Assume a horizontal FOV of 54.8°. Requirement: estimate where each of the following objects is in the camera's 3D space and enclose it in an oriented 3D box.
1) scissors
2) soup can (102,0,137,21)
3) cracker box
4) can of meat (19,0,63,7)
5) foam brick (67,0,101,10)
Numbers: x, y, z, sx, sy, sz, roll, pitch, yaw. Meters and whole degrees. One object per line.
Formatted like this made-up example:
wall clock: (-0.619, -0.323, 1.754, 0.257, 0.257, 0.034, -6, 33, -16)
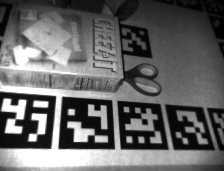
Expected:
scissors: (0.000, -0.019, 0.469, 0.204, 0.016, 0.087, 2, 65, -17)
soup can: (0.008, -0.231, 0.570, 0.068, 0.068, 0.101, -32, 72, -28)
cracker box: (-0.104, -0.076, 0.428, 0.215, 0.072, 0.163, 0, 64, -14)
can of meat: (-0.158, -0.204, 0.482, 0.102, 0.083, 0.058, 19, 61, -8)
foam brick: (-0.071, -0.214, 0.537, 0.079, 0.051, 0.052, -4, 66, -19)
